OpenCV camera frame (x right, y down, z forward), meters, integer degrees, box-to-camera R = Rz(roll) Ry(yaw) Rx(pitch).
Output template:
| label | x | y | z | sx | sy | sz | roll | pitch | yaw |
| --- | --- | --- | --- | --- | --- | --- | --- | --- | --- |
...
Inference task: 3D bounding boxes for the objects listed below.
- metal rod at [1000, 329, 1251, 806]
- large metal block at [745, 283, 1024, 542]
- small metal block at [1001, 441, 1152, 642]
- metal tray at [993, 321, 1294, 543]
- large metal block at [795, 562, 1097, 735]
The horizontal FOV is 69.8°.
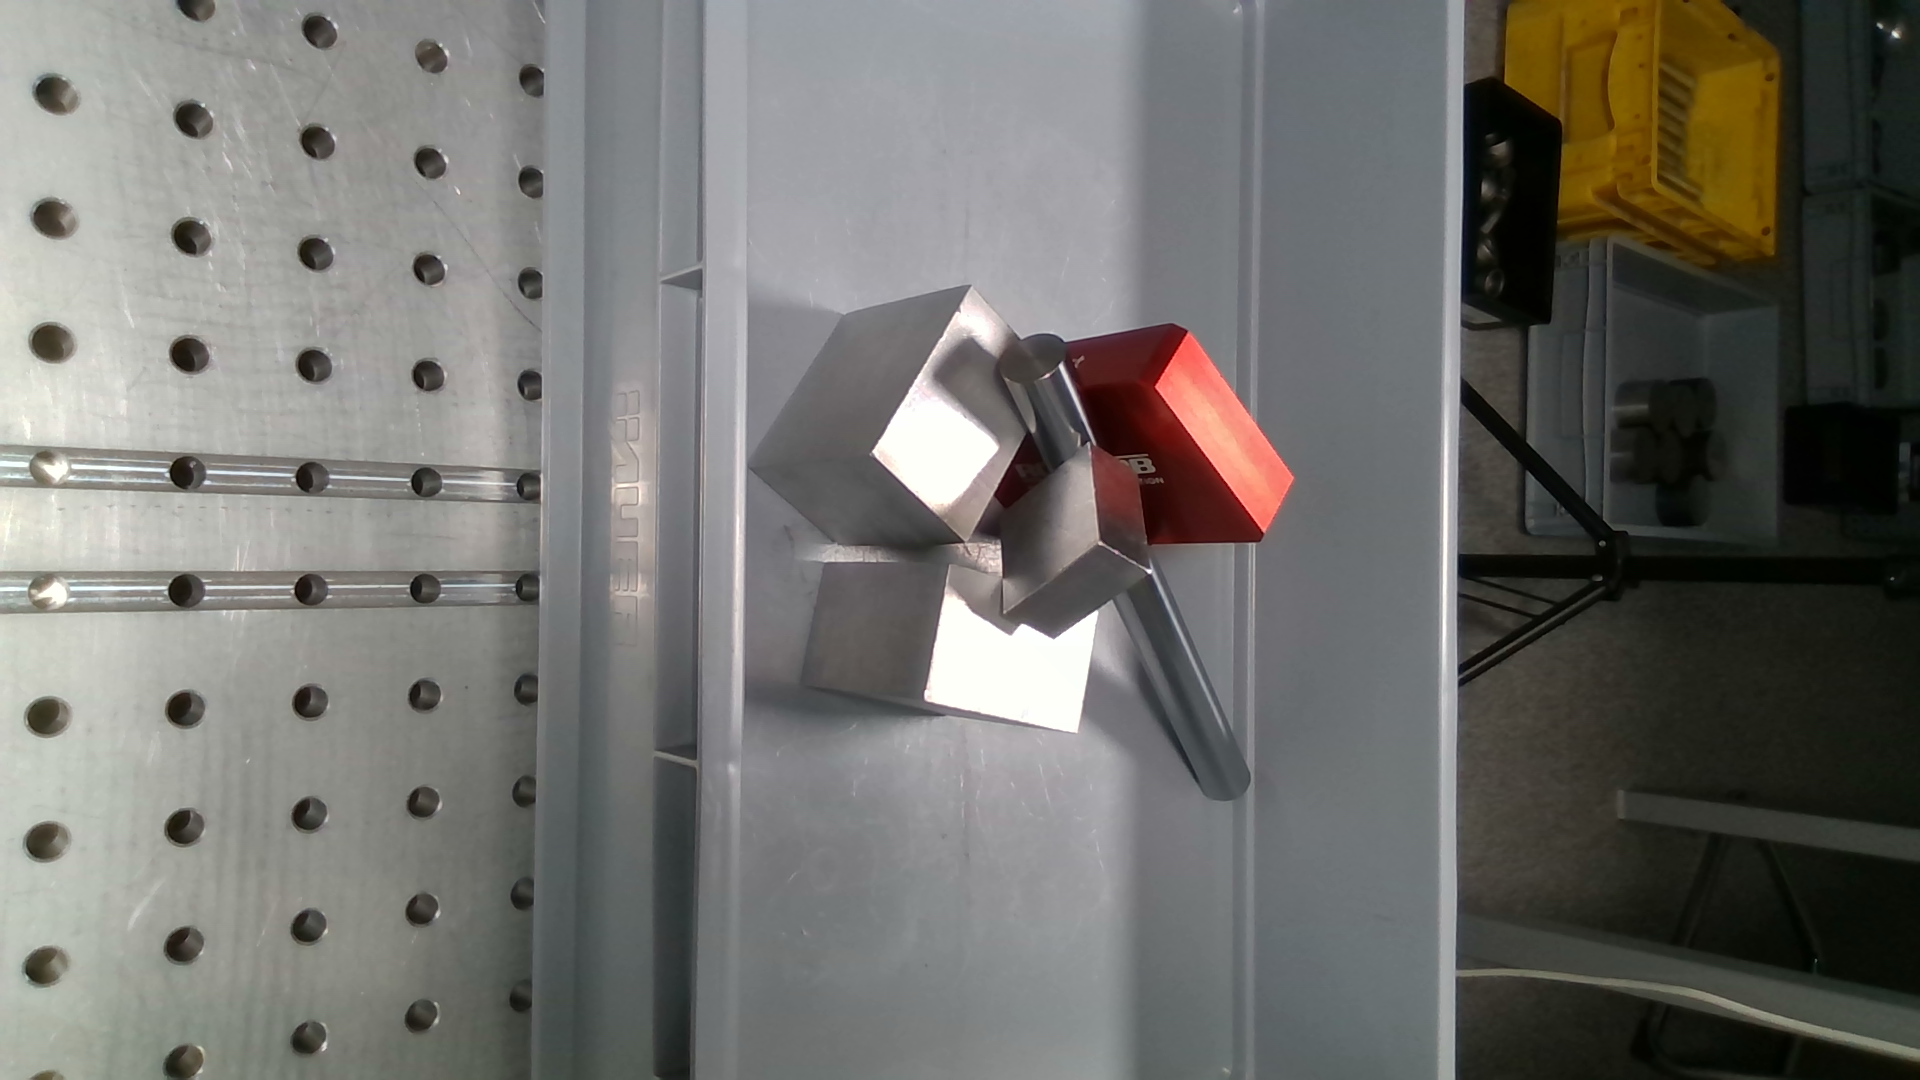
| label | x | y | z | sx | sy | sz | roll | pitch | yaw |
| --- | --- | --- | --- | --- | --- | --- | --- | --- | --- |
| metal rod | 0.080 | 0.029 | 0.591 | 0.025 | 0.025 | 0.301 | -56 | 140 | -25 |
| large metal block | -0.024 | -0.046 | 0.528 | 0.050 | 0.080 | 0.080 | 44 | 63 | -31 |
| small metal block | 0.041 | 0.001 | 0.503 | 0.025 | 0.050 | 0.050 | 29 | 40 | -28 |
| metal tray | 0.058 | -0.038 | 0.562 | 0.090 | 0.130 | 0.030 | 47 | 61 | -29 |
| large metal block | -0.005 | 0.042 | 0.543 | 0.080 | 0.080 | 0.050 | 17 | 79 | -39 |
